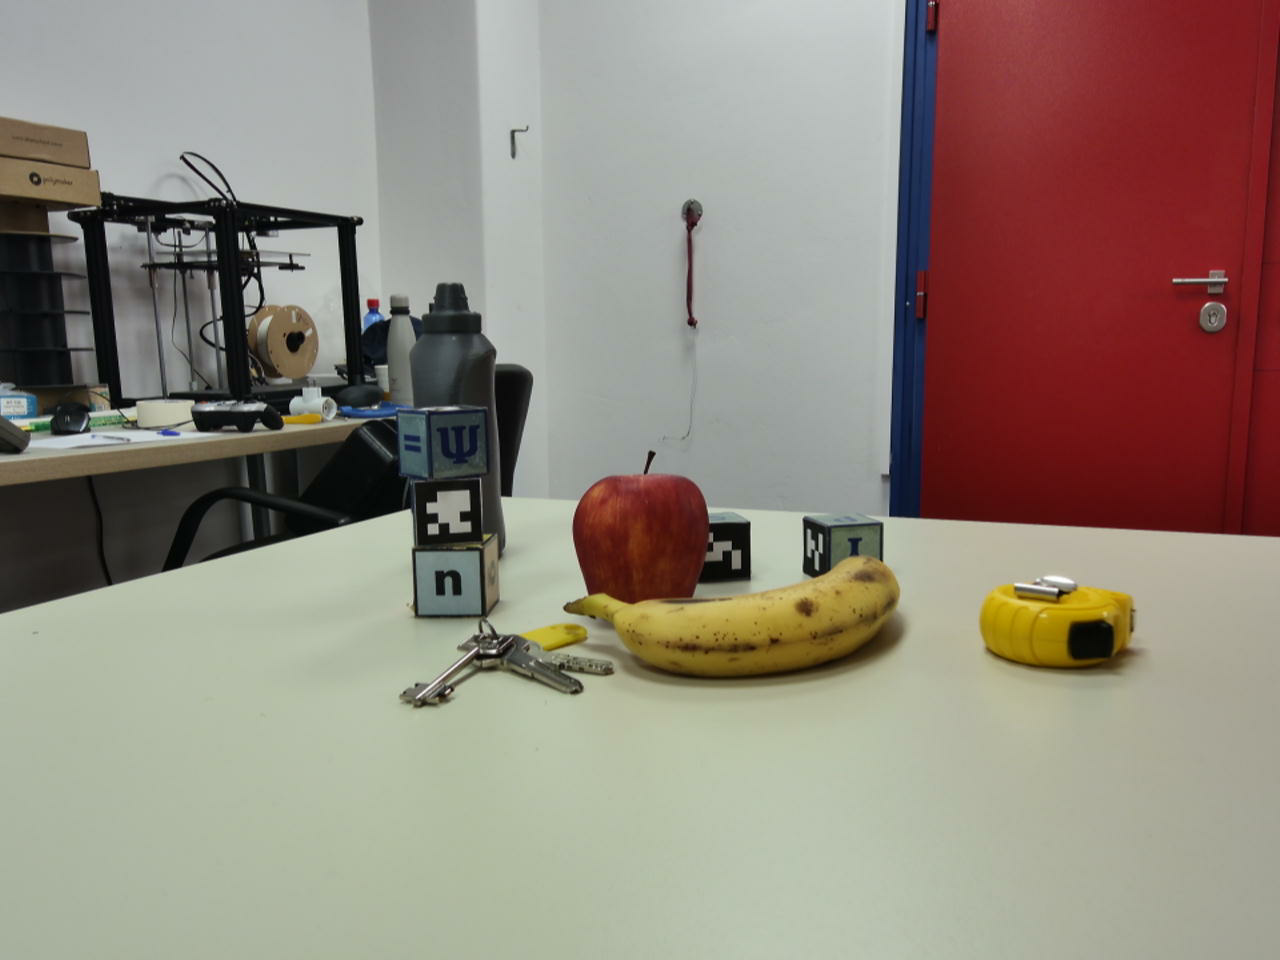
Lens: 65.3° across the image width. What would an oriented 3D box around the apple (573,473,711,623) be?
[{"bbox_3d":[0.001,0.029,0.550,0.083,0.090,0.083,-1,6,0],"label":"apple"}]
